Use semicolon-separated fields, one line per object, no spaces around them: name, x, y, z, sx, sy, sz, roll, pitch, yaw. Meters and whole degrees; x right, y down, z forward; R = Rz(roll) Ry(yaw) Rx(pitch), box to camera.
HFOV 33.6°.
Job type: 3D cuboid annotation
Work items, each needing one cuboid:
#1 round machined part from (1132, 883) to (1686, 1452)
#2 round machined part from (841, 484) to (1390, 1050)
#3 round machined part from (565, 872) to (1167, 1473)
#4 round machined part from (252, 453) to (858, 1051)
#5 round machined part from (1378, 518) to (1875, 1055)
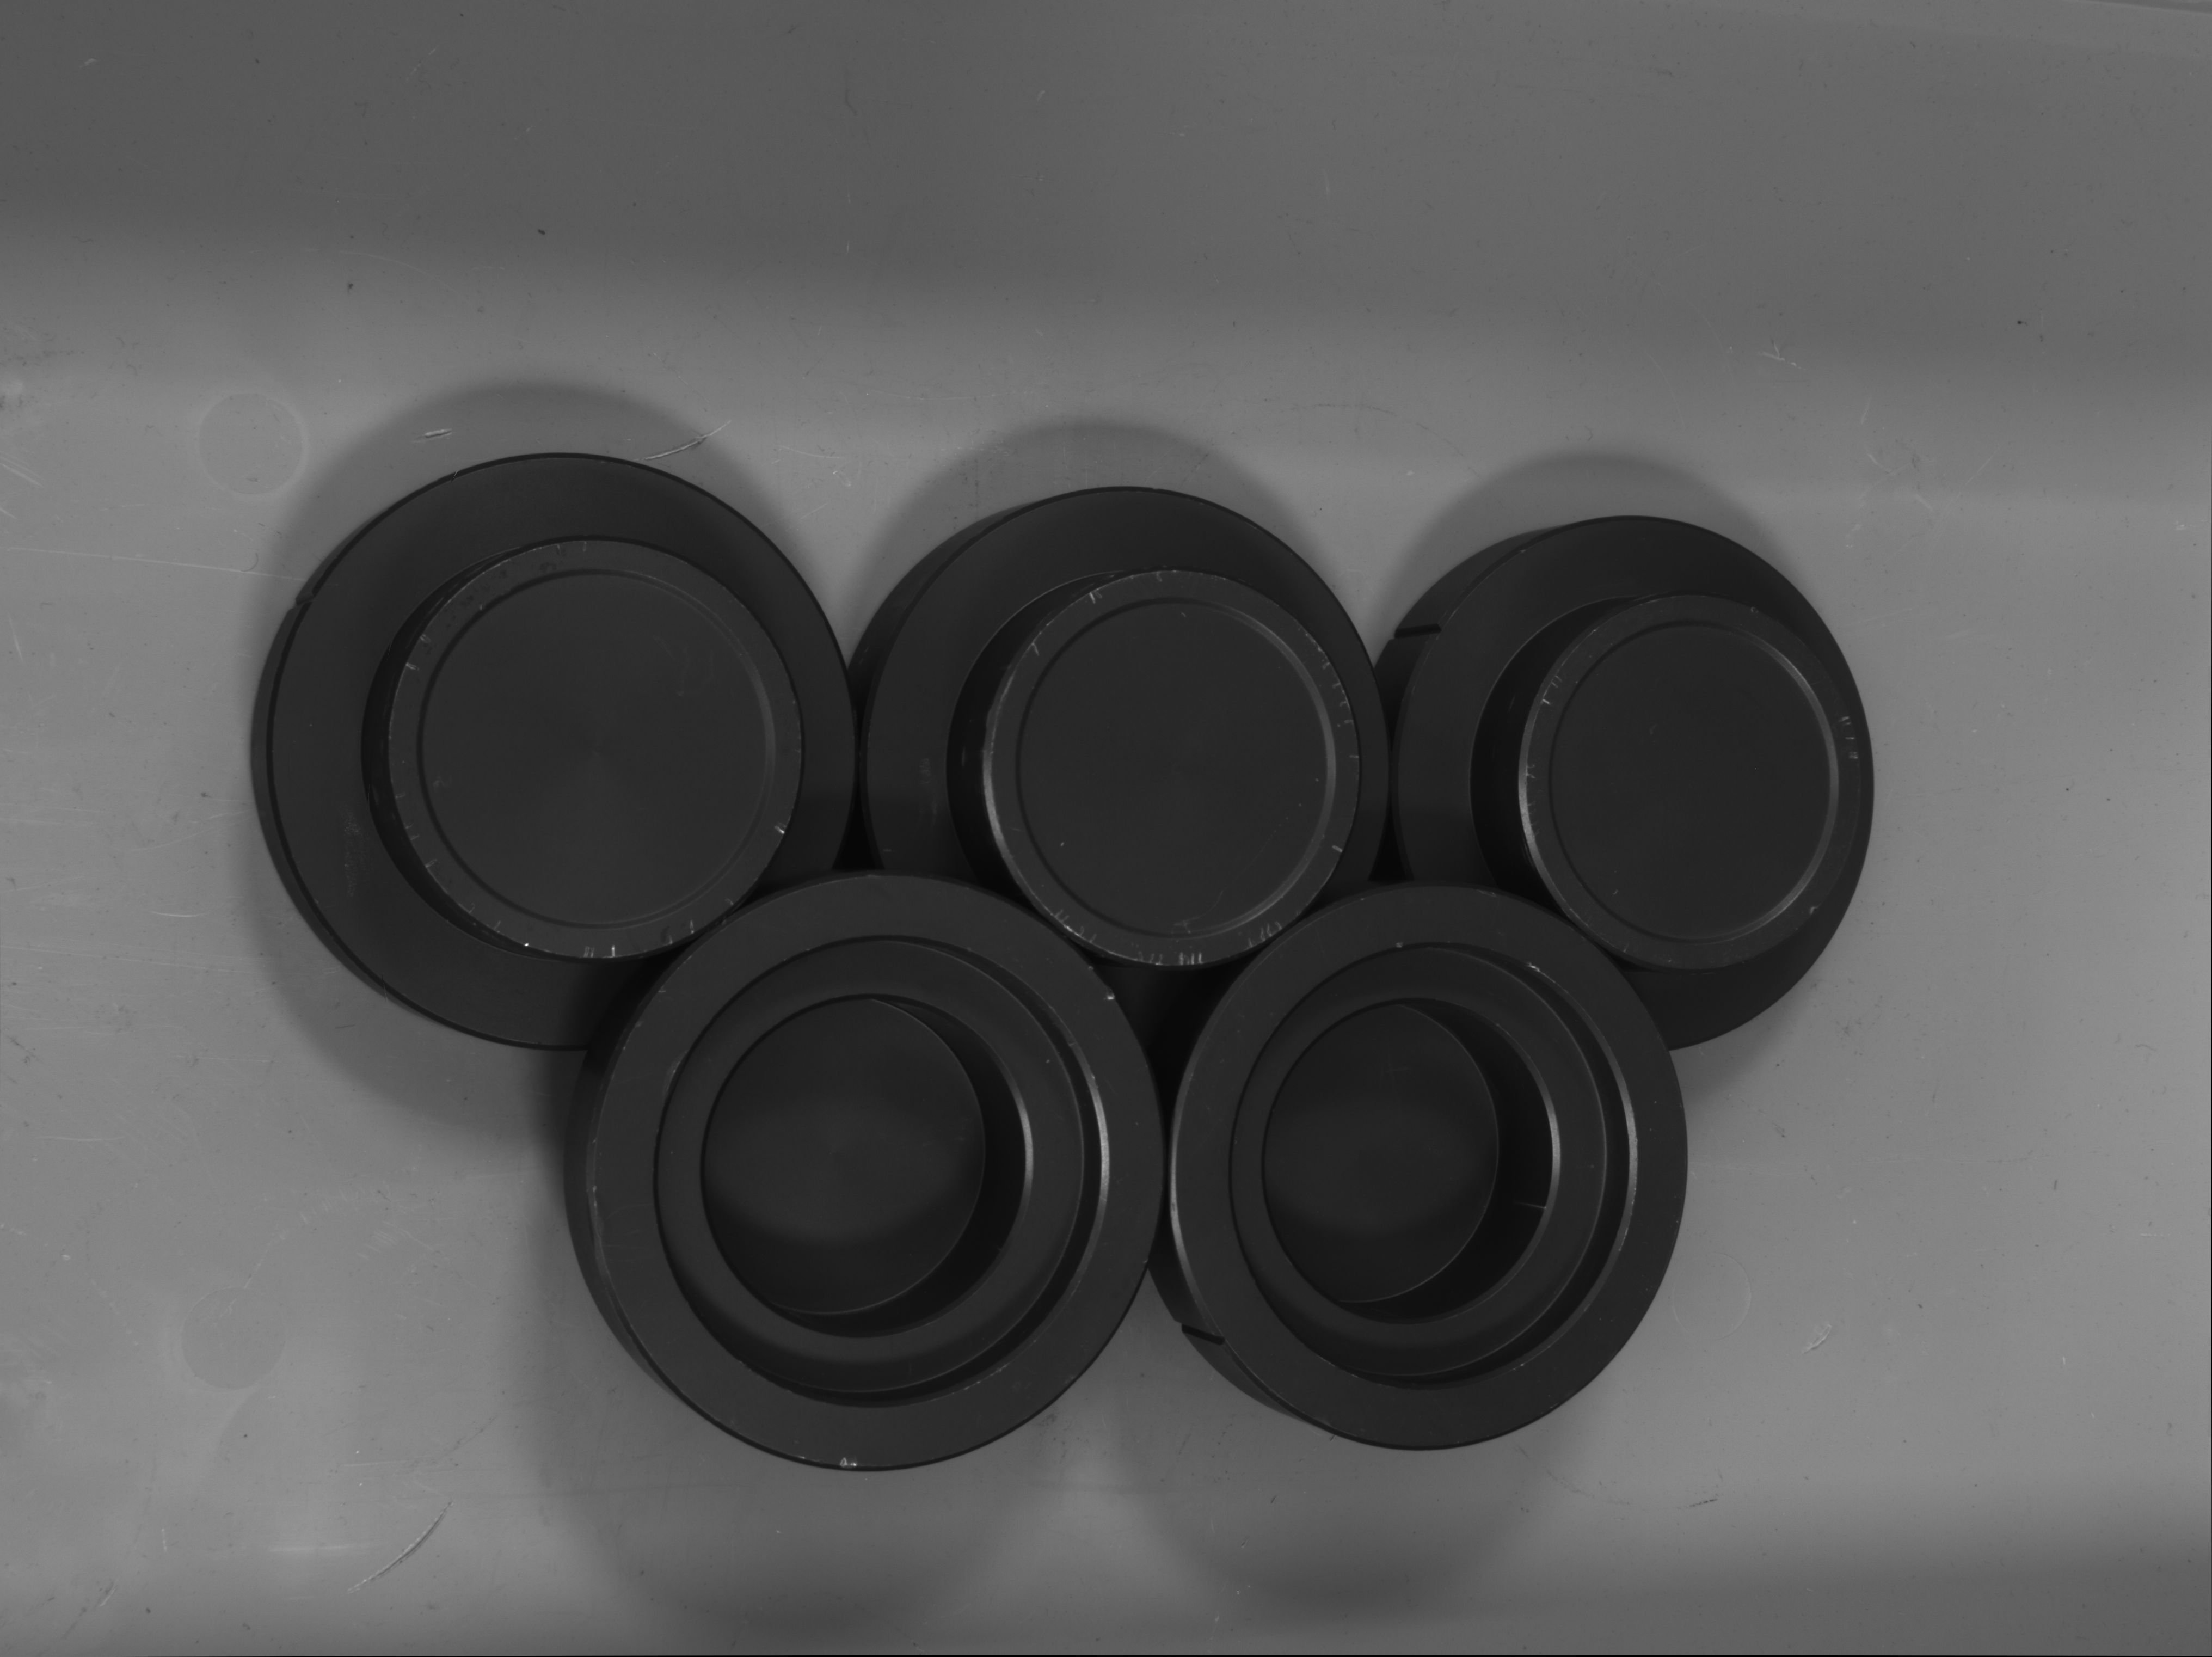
round machined part;0.050;0.058;0.650;0.098;0.042;0.098;0;90;-20
round machined part;0.004;-0.011;0.633;0.098;0.042;0.098;0;89;-19
round machined part;-0.043;0.056;0.617;0.098;0.042;0.098;0;90;-20
round machined part;-0.087;-0.013;0.600;0.098;0.042;0.098;0;89;-21
round machined part;0.097;-0.008;0.667;0.098;0.042;0.098;0;89;-19
